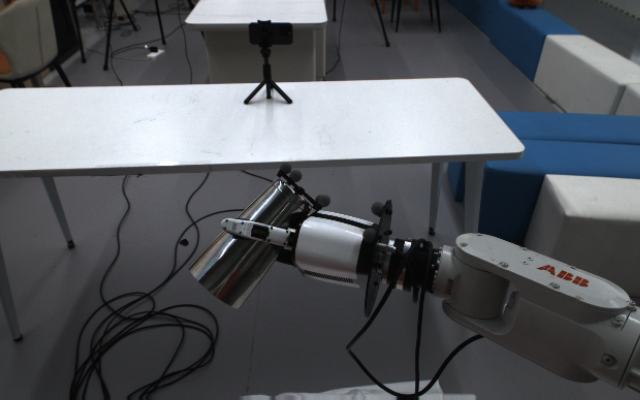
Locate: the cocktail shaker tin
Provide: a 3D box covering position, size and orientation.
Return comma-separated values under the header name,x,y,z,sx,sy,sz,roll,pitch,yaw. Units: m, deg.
name,x,y,z,sx,sy,sz,roll,pitch,yaw
cocktail shaker tin,-0.089,0.052,0.674,0.170,0.093,0.093,-48,49,-3
